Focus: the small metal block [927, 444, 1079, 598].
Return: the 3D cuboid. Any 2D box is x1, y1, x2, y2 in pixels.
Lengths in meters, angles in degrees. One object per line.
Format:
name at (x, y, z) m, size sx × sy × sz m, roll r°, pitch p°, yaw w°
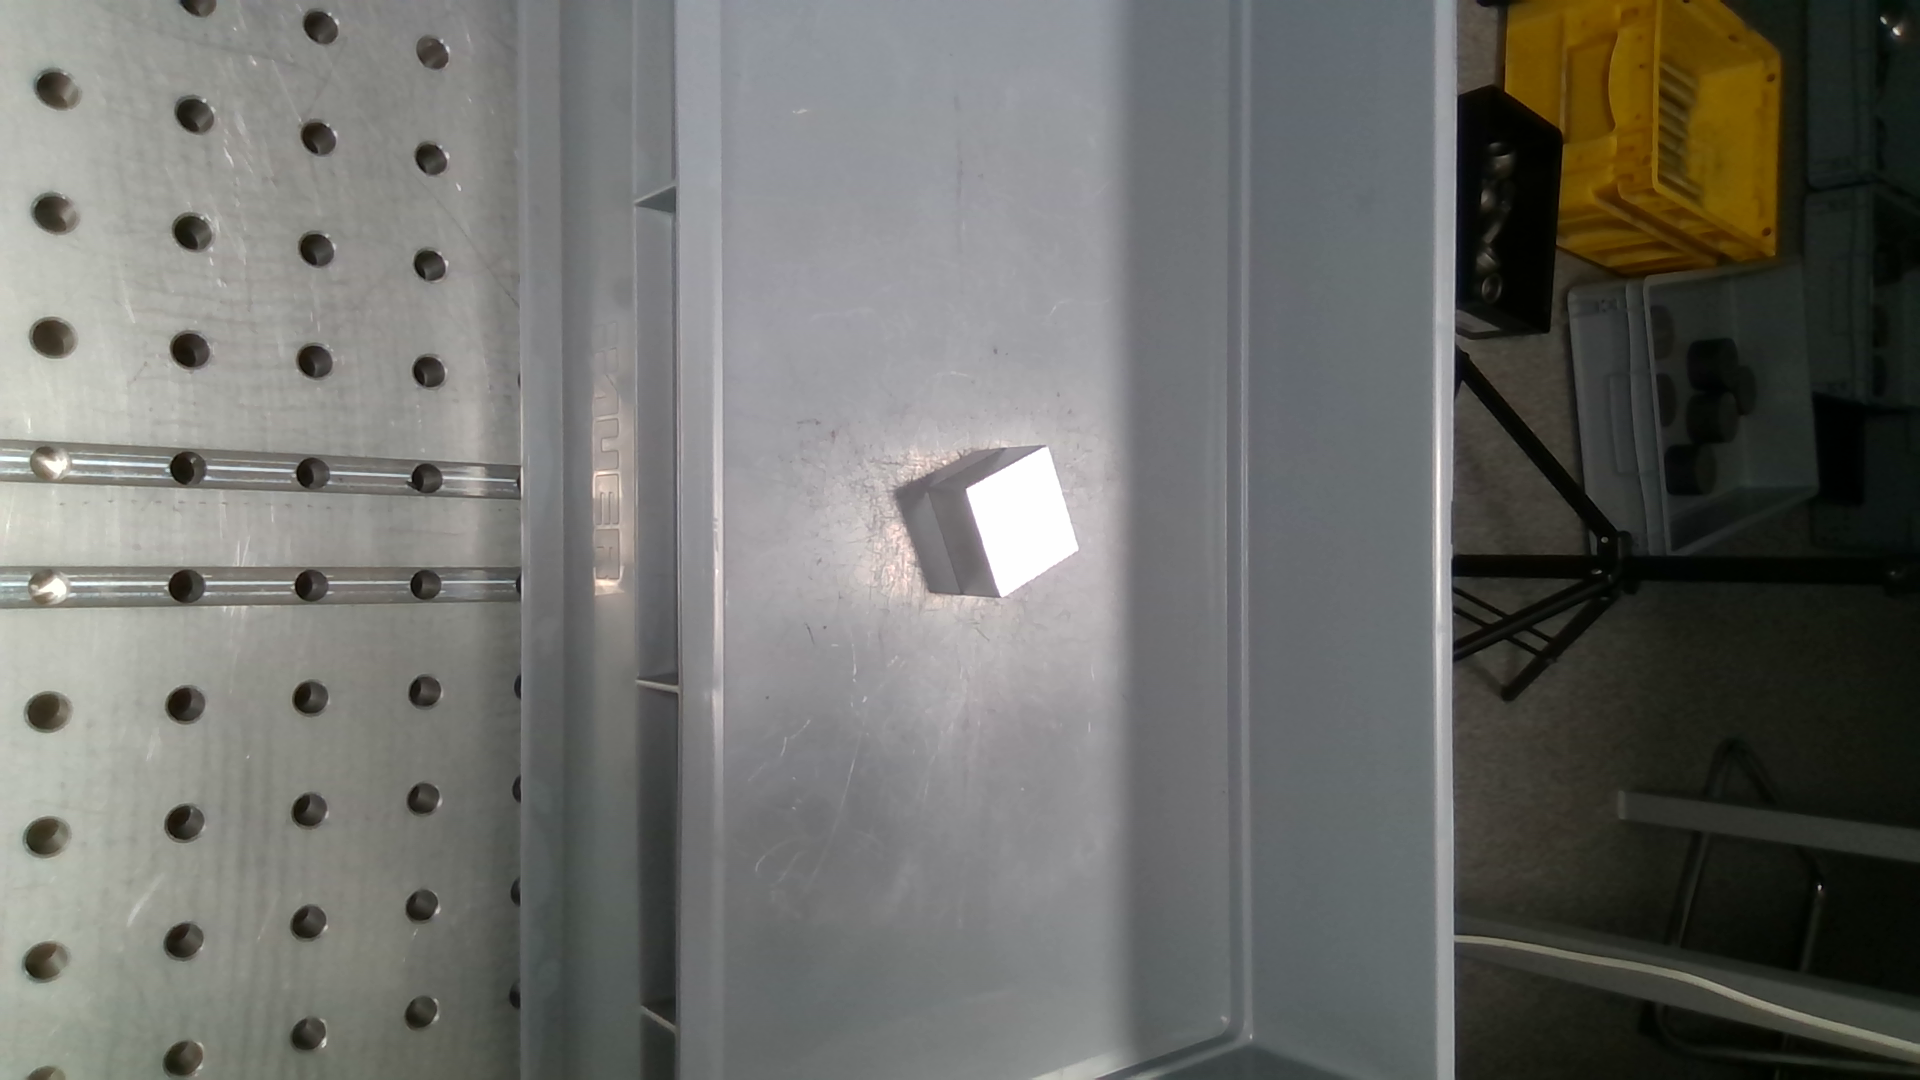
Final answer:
small metal block at (0.019, -0.009, 0.595) m, size 0.050 × 0.025 × 0.050 m, roll -30°, pitch 109°, yaw -36°
